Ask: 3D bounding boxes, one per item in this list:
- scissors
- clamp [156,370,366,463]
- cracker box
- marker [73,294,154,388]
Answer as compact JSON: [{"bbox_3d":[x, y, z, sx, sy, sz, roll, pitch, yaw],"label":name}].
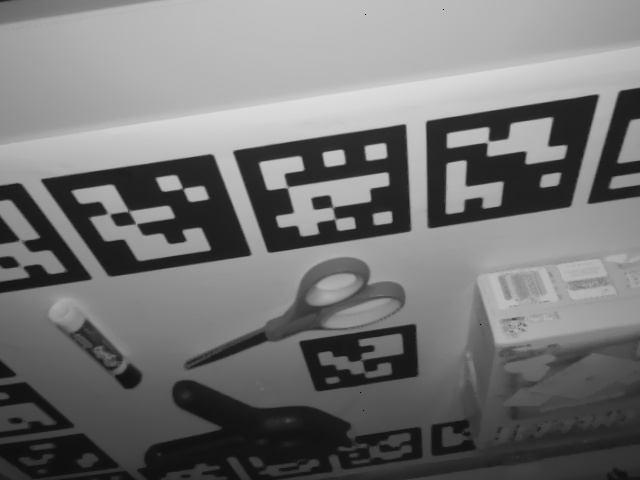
[{"bbox_3d":[-0.020,0.066,0.556,0.200,0.016,0.088,-27,136,24],"label":"scissors"},{"bbox_3d":[-0.046,0.191,0.700,0.205,0.037,0.163,13,136,-21],"label":"clamp"},{"bbox_3d":[0.223,0.103,0.598,0.164,0.072,0.212,-8,139,0],"label":"cracker box"},{"bbox_3d":[-0.162,0.084,0.553,0.019,0.020,0.120,-11,139,4],"label":"marker"}]
